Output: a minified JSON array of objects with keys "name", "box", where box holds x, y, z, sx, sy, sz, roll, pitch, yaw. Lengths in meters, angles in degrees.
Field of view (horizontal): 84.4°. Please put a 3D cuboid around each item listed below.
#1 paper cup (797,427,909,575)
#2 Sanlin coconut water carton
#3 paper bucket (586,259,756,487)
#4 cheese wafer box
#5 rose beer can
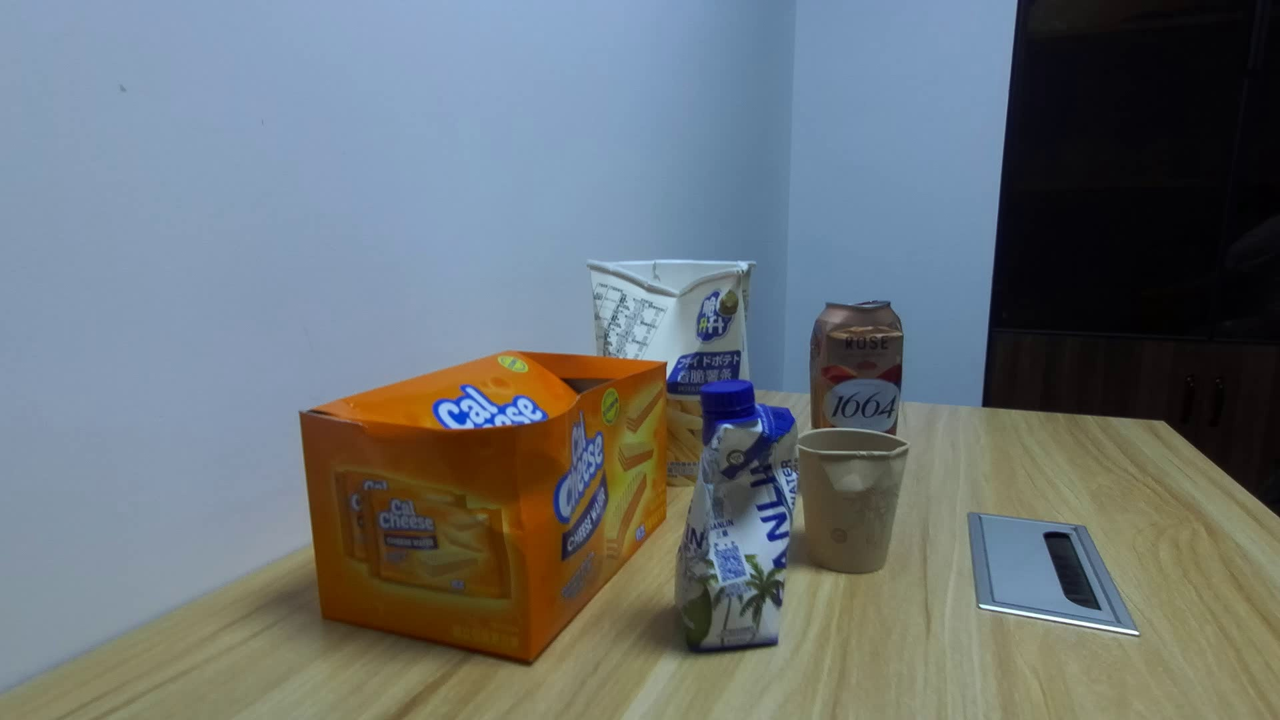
[{"name":"paper cup","box":[0.141,0.095,0.483,0.068,0.081,0.074,7,11,38]},{"name":"Sanlin coconut water carton","box":[0.058,0.085,0.385,0.068,0.144,0.056,6,16,-10]},{"name":"paper bucket","box":[0.030,0.004,0.686,0.162,0.202,0.169,0,8,13]},{"name":"cheese wafer box","box":[-0.082,0.078,0.473,0.152,0.132,0.231,5,10,20]},{"name":"rose beer can","box":[0.183,0.033,0.604,0.075,0.167,0.065,0,7,11]}]
